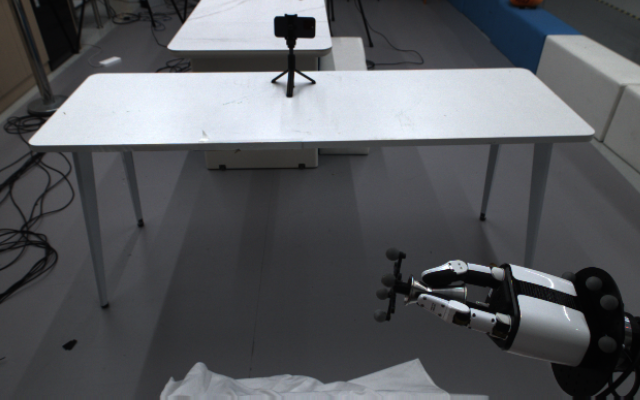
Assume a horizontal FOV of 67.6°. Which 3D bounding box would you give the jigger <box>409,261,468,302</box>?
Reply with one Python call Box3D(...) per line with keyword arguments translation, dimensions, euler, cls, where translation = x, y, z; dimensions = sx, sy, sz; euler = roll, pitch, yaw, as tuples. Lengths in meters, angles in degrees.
Box3D(translation=(0.150, 0.117, 0.608), dimensions=(0.071, 0.043, 0.043), euler=(12, 35, 4), cls="jigger")
